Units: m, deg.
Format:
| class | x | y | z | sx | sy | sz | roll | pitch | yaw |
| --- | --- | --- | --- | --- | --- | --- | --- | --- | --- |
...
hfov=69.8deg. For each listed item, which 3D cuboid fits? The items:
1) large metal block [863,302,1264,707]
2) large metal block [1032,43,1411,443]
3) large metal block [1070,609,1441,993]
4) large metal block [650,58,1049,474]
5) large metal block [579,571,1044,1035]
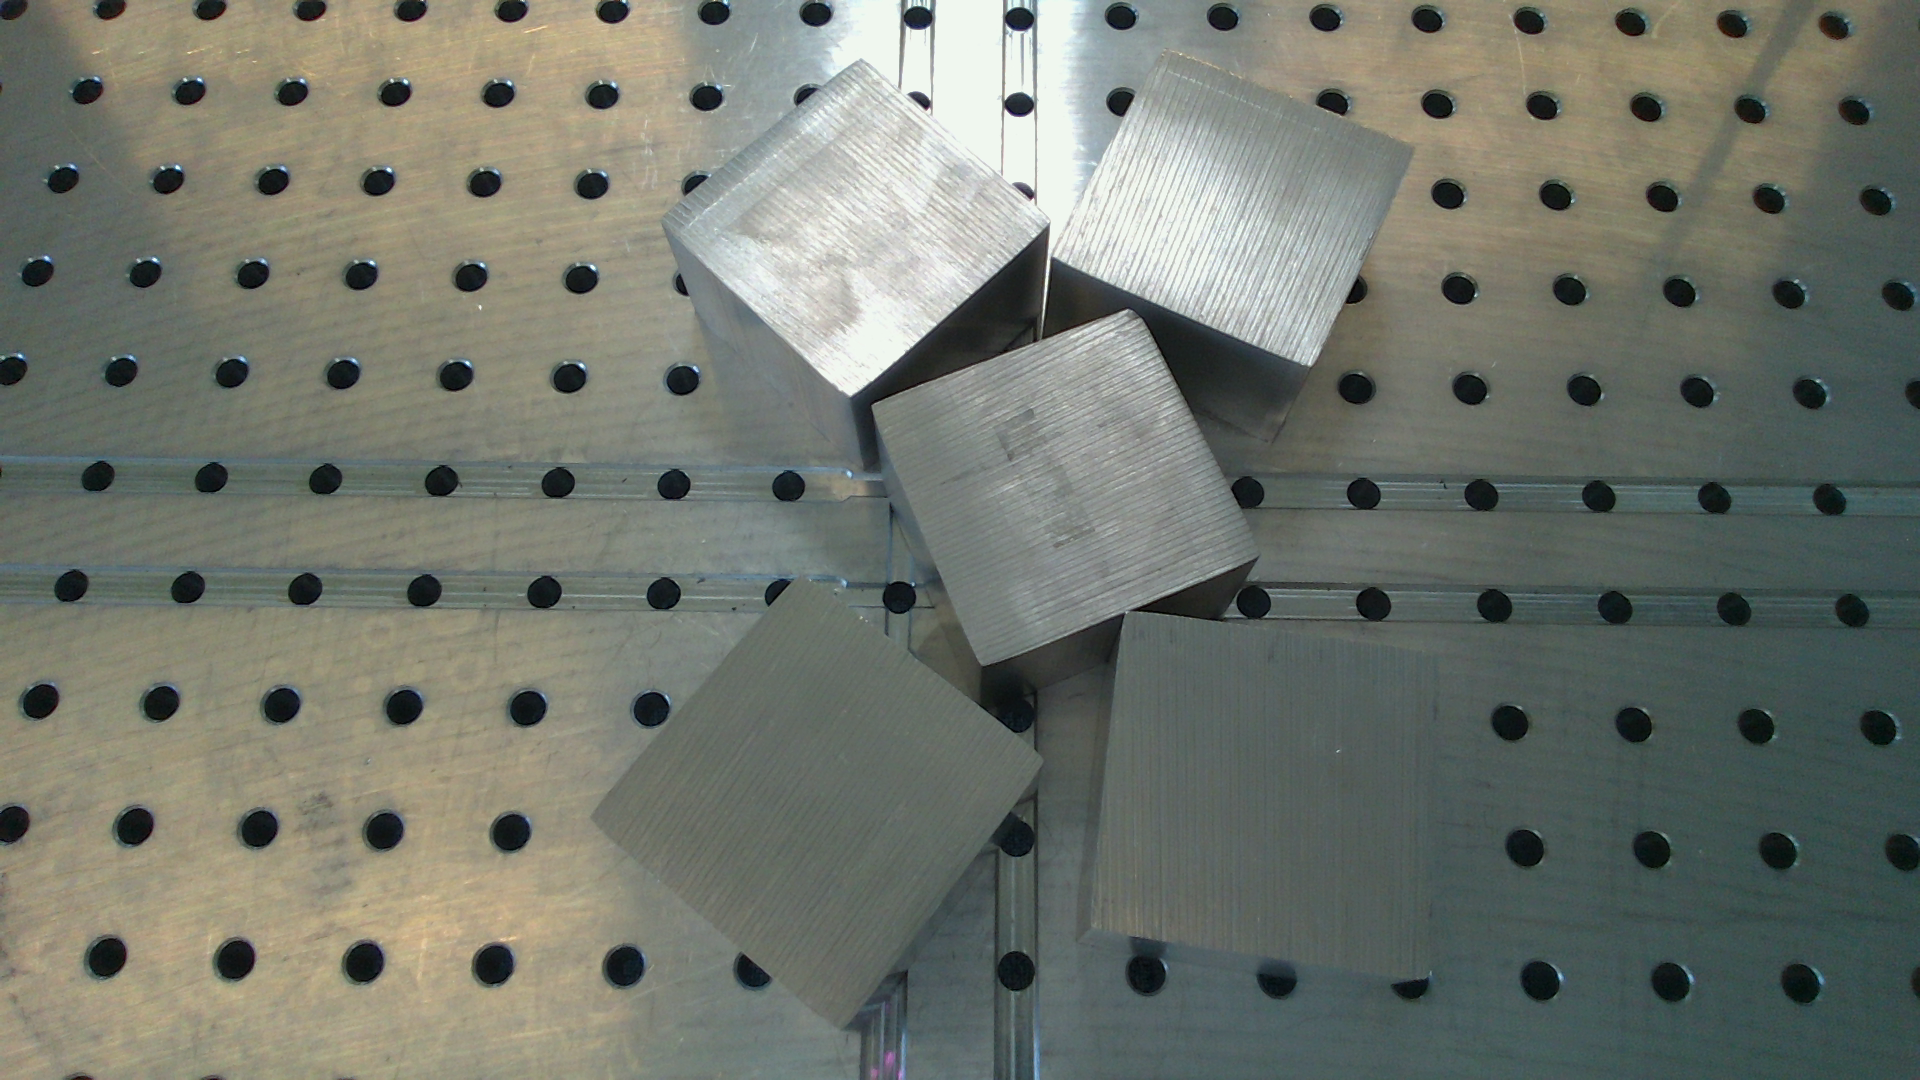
| class | x | y | z | sx | sy | sz | roll | pitch | yaw |
| --- | --- | --- | --- | --- | --- | --- | --- | --- | --- |
| large metal block | 0.026 | -0.008 | 0.386 | 0.080 | 0.050 | 0.080 | -21 | 71 | -8 |
| large metal block | 0.077 | -0.089 | 0.415 | 0.080 | 0.050 | 0.080 | 25 | 72 | 6 |
| large metal block | 0.075 | 0.069 | 0.358 | 0.080 | 0.050 | 0.080 | 9 | 70 | 3 |
| large metal block | -0.031 | -0.082 | 0.413 | 0.080 | 0.050 | 0.080 | -42 | 75 | -13 |
| large metal block | -0.035 | 0.069 | 0.357 | 0.080 | 0.050 | 0.080 | 36 | 74 | 12 |
